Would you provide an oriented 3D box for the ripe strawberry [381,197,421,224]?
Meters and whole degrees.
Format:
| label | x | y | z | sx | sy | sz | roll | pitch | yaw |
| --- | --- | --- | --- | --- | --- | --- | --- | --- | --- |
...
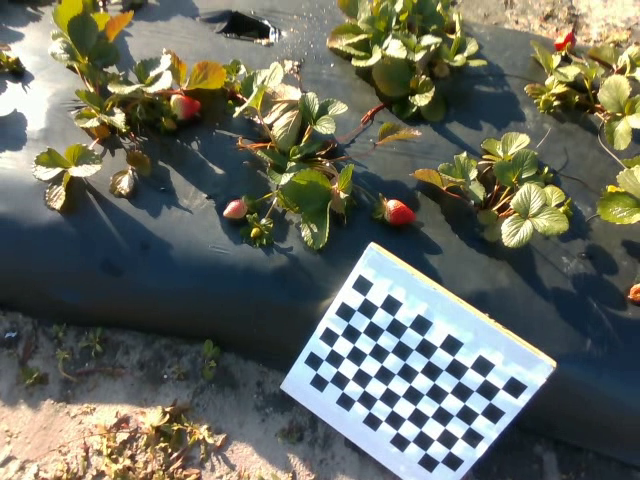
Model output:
| label | x | y | z | sx | sy | sz | roll | pitch | yaw |
| --- | --- | --- | --- | --- | --- | --- | --- | --- | --- |
| ripe strawberry | 0.126 | -0.043 | 0.932 | 0.063 | 0.044 | 0.043 | 16 | 18 | 13 |
